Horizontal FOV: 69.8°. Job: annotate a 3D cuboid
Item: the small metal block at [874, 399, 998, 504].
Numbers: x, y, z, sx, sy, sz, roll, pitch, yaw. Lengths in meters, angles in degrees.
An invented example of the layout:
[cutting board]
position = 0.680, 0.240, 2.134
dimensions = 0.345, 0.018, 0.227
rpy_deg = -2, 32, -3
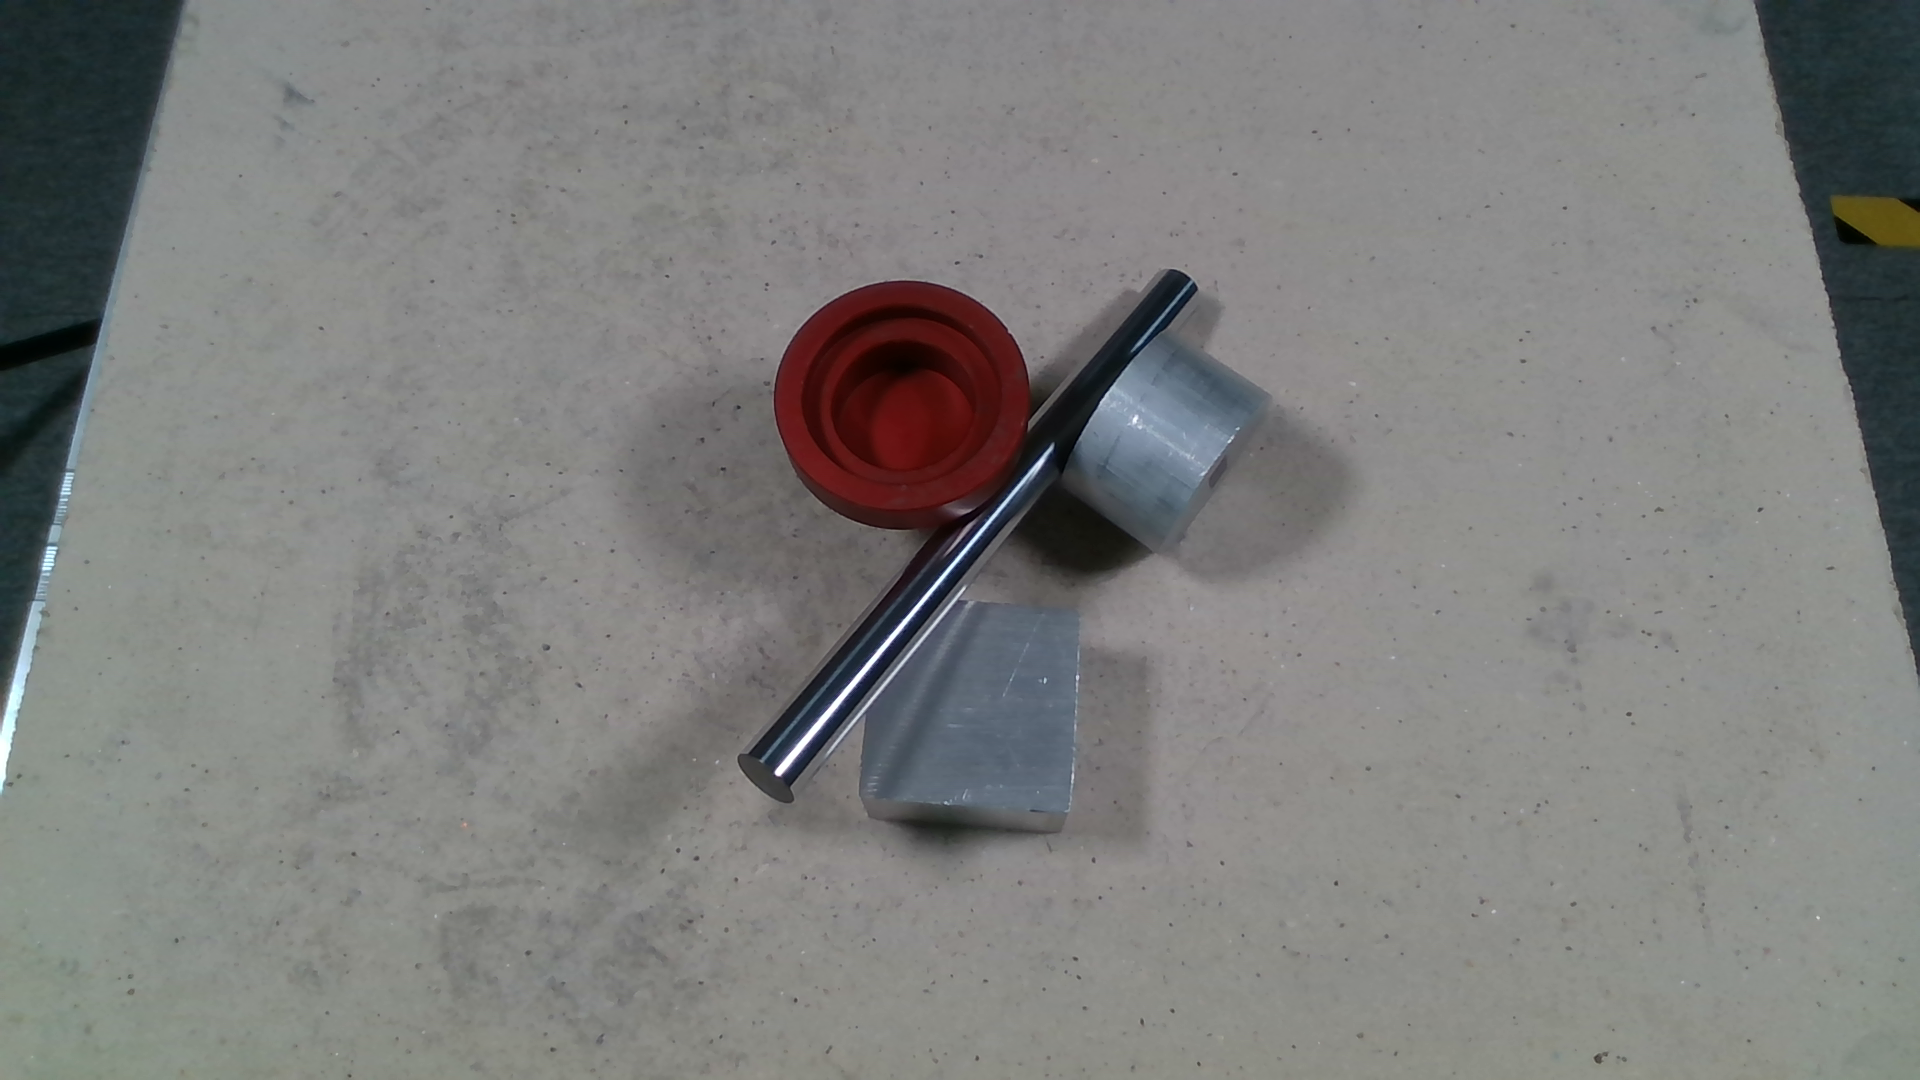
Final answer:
[small metal block]
position = -0.010, -0.037, 0.589
dimensions = 0.050, 0.050, 0.025
rpy_deg = -2, 70, -1

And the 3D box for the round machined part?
[round machined part]
position = -0.022, -0.050, 0.544
dimensions = 0.098, 0.042, 0.098
rpy_deg = 0, 70, 1

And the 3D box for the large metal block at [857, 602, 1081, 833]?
[large metal block]
position = 0.004, 0.071, 0.550
dimensions = 0.080, 0.050, 0.080
rpy_deg = 4, 70, 1

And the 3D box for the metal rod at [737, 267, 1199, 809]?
[metal rod]
position = 0.015, -0.015, 0.554
dimensions = 0.025, 0.025, 0.299
rpy_deg = 33, 59, 11

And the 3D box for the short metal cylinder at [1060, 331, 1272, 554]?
[short metal cylinder]
position = 0.086, -0.041, 0.574
dimensions = 0.050, 0.080, 0.080
rpy_deg = 36, 74, 12
